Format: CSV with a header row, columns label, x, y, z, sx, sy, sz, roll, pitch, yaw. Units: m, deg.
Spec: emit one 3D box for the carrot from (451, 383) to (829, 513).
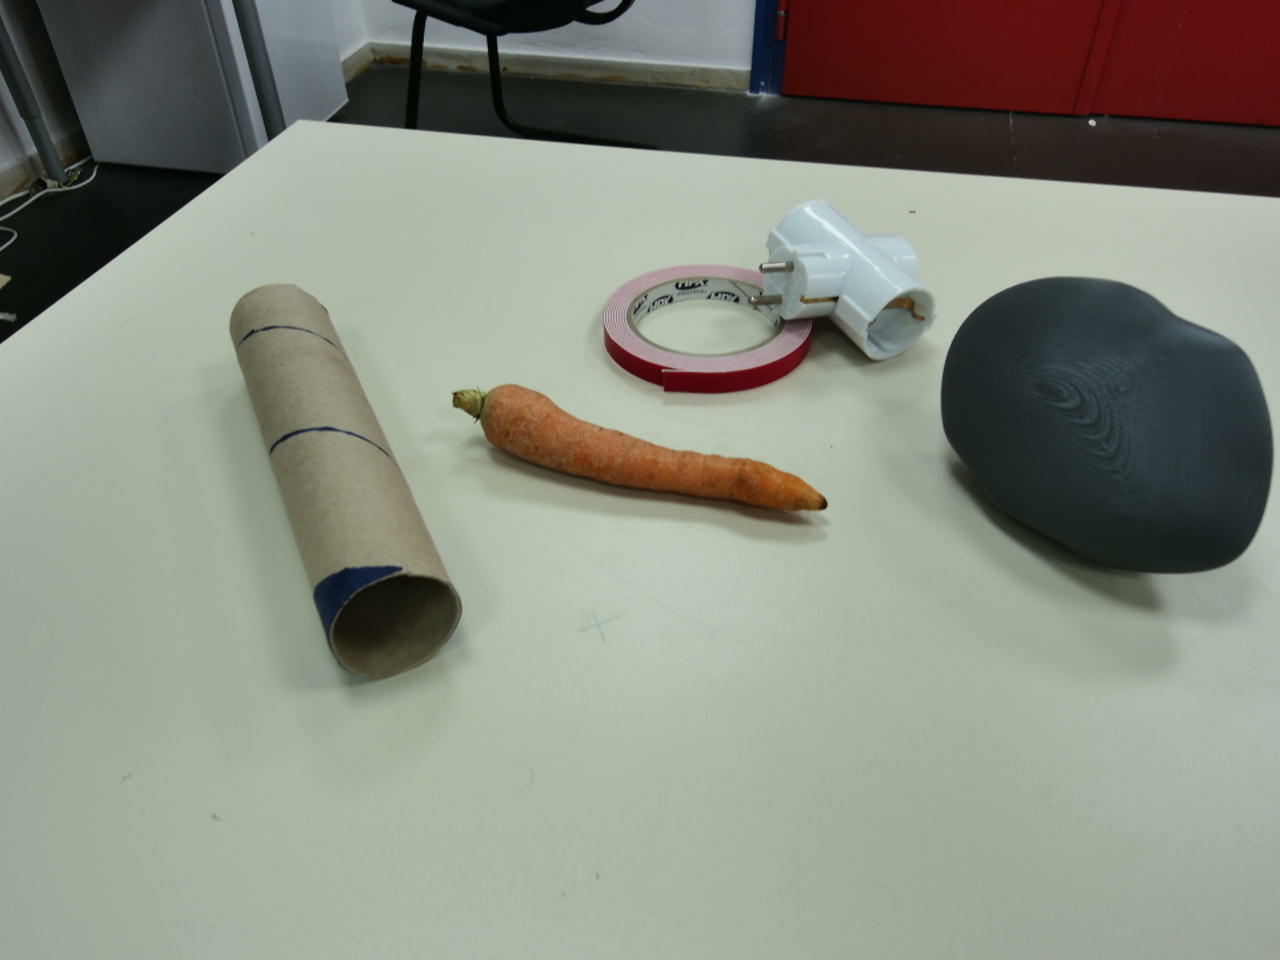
label,x,y,z,sx,sy,sz,roll,pitch,yaw
carrot,-0.003,-0.013,0.430,0.173,0.032,0.030,14,40,18
